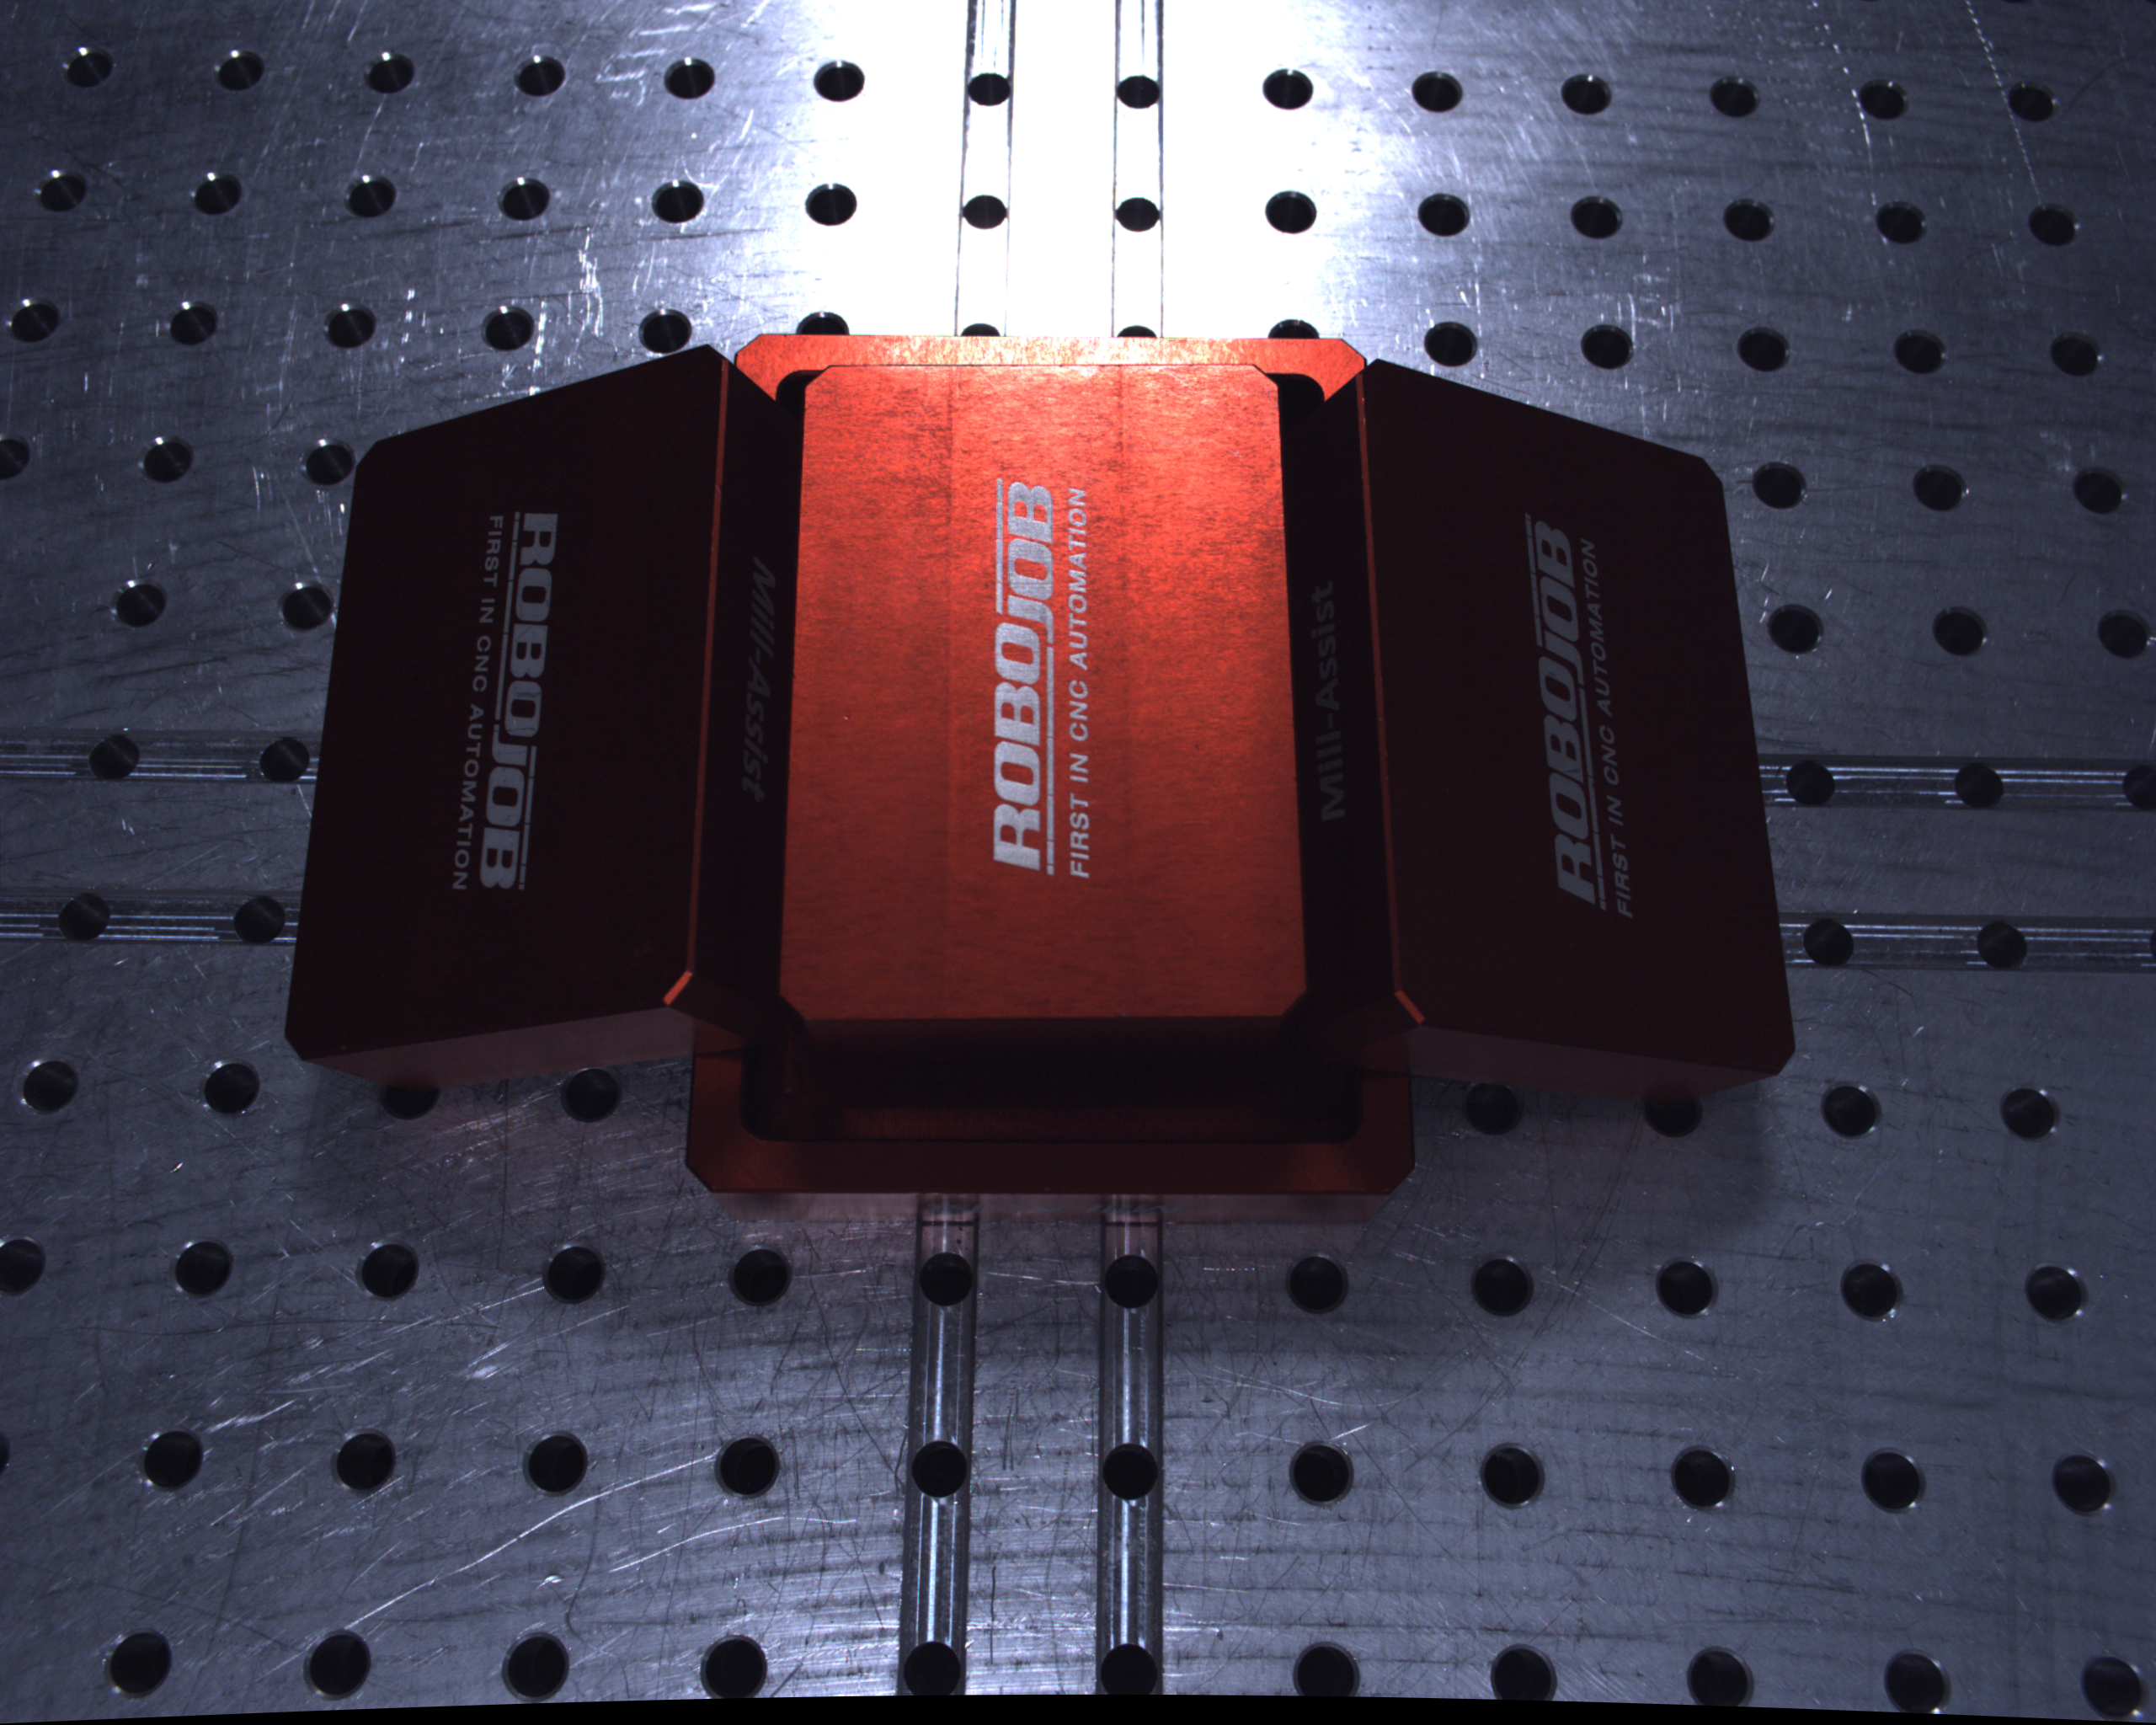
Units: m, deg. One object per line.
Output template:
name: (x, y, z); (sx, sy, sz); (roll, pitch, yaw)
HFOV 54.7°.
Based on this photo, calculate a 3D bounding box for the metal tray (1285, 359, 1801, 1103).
metal tray: (0.087, -0.024, 0.399); (0.091, 0.030, 0.130); (9, 68, -26)

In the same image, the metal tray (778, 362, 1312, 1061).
metal tray: (-0.006, -0.030, 0.388); (0.091, 0.030, 0.130); (0, 70, -1)

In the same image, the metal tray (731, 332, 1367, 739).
metal tray: (-0.006, -0.063, 0.432); (0.131, 0.030, 0.090); (0, 70, -1)

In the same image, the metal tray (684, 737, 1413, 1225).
metal tray: (-0.005, 0.022, 0.401); (0.131, 0.030, 0.090); (0, 70, -1)

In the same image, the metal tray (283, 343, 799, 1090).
metal tray: (-0.100, -0.027, 0.399); (0.090, 0.030, 0.130); (-9, 68, 24)
